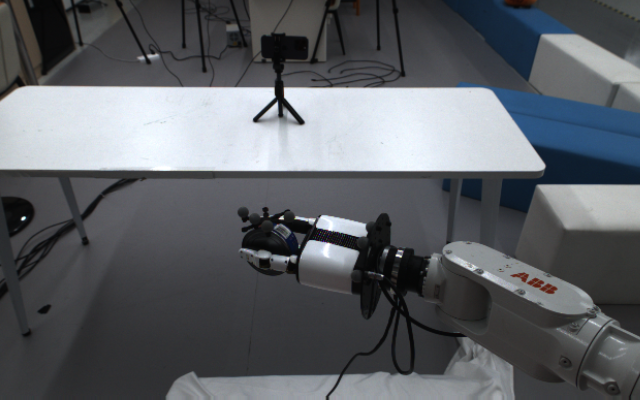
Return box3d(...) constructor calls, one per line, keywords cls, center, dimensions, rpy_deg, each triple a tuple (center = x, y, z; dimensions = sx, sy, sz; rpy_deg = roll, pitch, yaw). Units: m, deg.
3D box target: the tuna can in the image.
box3d(cls="tuna can", center=(-0.077, 0.075, 0.763), dimensions=(0.085, 0.085, 0.034), rpy_deg=(14, 29, 17))
